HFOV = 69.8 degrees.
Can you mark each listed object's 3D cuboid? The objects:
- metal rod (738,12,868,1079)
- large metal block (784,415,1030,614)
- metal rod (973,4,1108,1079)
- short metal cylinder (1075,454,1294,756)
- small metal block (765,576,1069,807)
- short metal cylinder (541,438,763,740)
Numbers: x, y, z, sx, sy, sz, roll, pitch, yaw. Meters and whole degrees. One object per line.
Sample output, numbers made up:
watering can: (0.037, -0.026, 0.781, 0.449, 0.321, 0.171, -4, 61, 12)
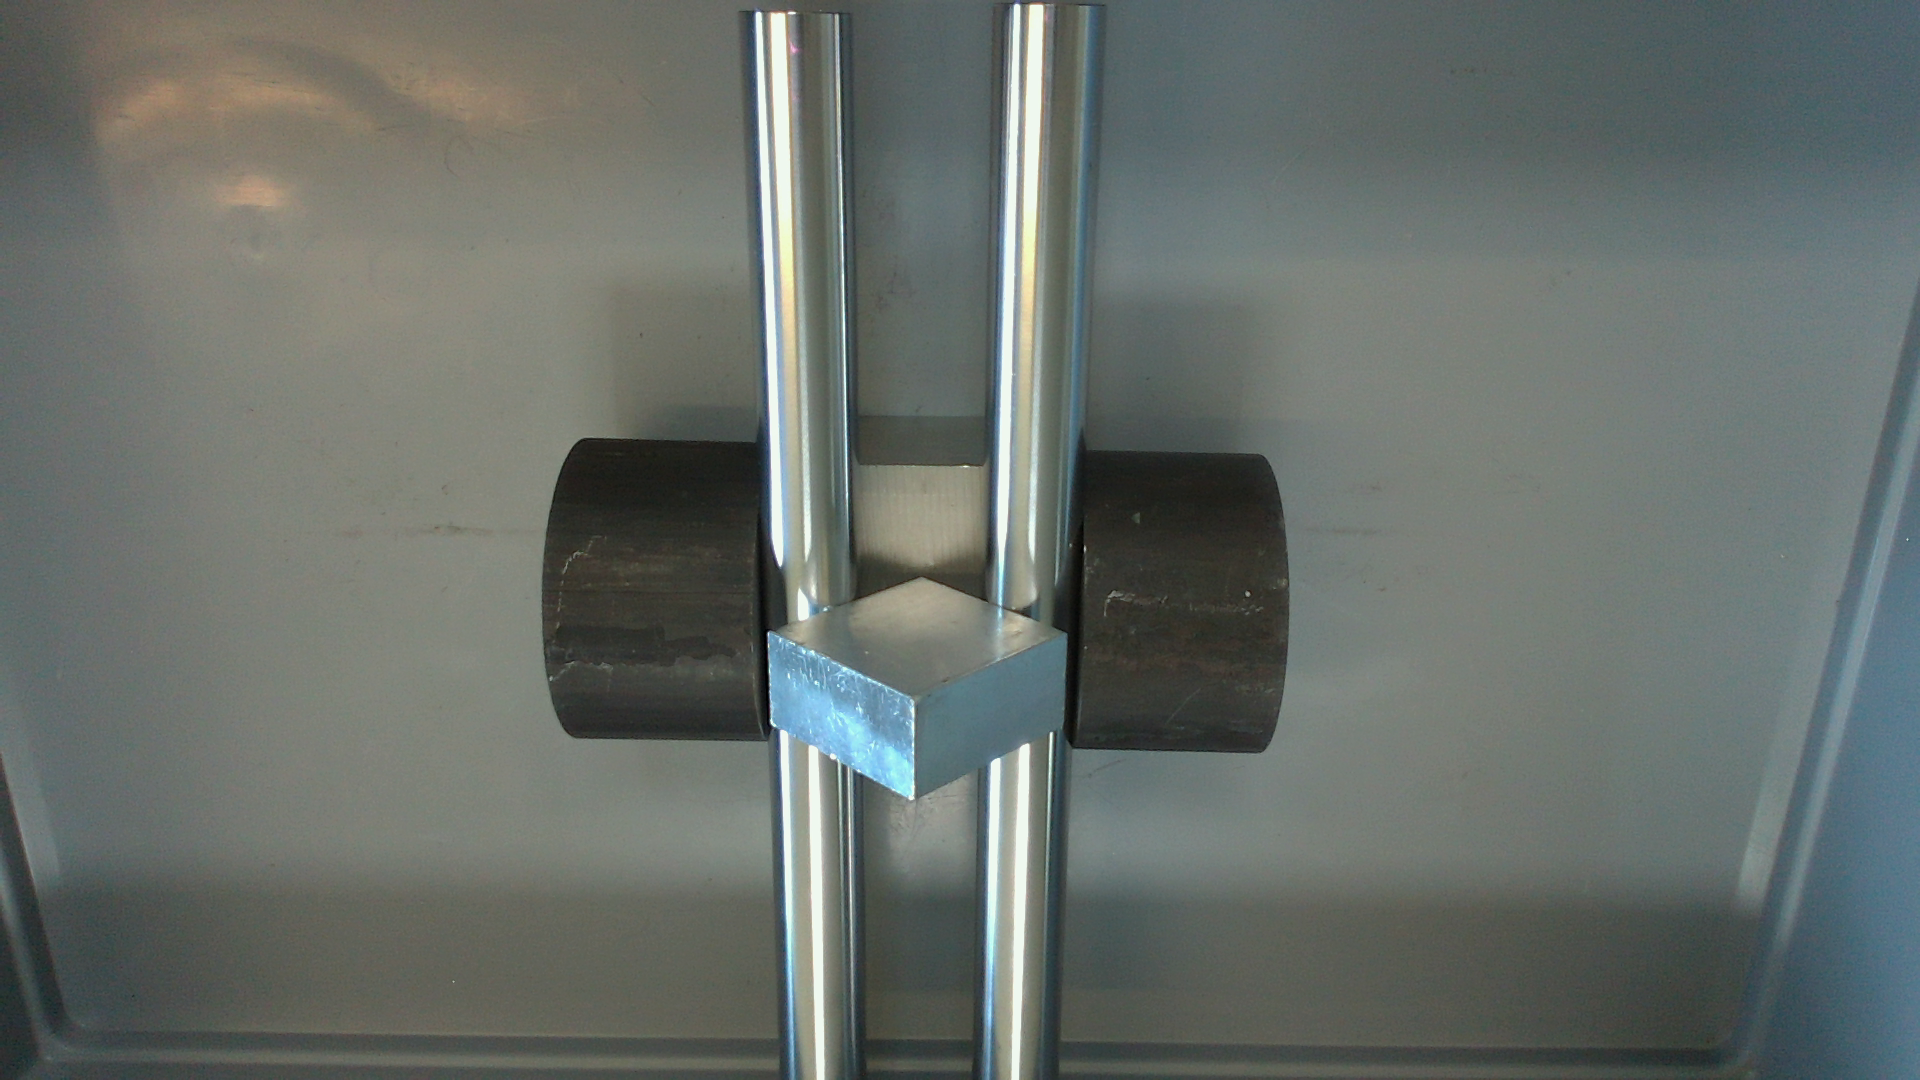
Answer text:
metal rod: (-0.037, 0.027, 0.350, 0.025, 0.025, 0.300, 1, 110, 0)
large metal block: (-0.010, 0.011, 0.383, 0.080, 0.050, 0.080, 1, 110, 0)
metal rod: (0.018, 0.025, 0.349, 0.025, 0.025, 0.300, 1, 110, 0)
short metal cylinder: (0.056, 0.017, 0.370, 0.050, 0.080, 0.080, 1, 110, 1)
small metal block: (-0.010, 0.033, 0.325, 0.050, 0.050, 0.025, 19, 118, 41)
short metal cylinder: (-0.075, 0.013, 0.368, 0.050, 0.080, 0.080, 1, 110, -1)
